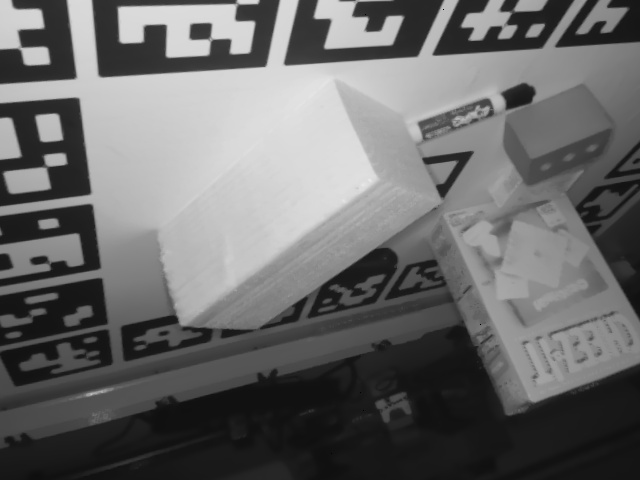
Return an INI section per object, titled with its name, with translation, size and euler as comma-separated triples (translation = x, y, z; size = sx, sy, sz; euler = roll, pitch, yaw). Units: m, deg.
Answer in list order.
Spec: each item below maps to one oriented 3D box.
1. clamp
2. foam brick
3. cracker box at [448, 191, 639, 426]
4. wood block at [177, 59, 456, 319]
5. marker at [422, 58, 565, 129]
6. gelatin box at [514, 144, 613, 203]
[clamp]
translation = -0.002, 0.033, 0.691
size = 0.202, 0.037, 0.166
euler = -28, 147, 7
[foam brick]
translation = 0.227, -0.107, 0.612
size = 0.078, 0.051, 0.053
euler = -24, 147, 2
[cracker box]
translation = 0.253, 0.062, 0.719
size = 0.166, 0.214, 0.071
euler = -11, 148, -14
[wood block]
translation = -0.009, -0.029, 0.549
size = 0.203, 0.091, 0.091
euler = -39, 147, 29
[marker]
translation = 0.143, -0.121, 0.567
size = 0.121, 0.019, 0.019
euler = -22, 147, -2
[gelatin box]
translation = 0.249, -0.077, 0.697
size = 0.090, 0.030, 0.072
euler = -12, 145, -18
